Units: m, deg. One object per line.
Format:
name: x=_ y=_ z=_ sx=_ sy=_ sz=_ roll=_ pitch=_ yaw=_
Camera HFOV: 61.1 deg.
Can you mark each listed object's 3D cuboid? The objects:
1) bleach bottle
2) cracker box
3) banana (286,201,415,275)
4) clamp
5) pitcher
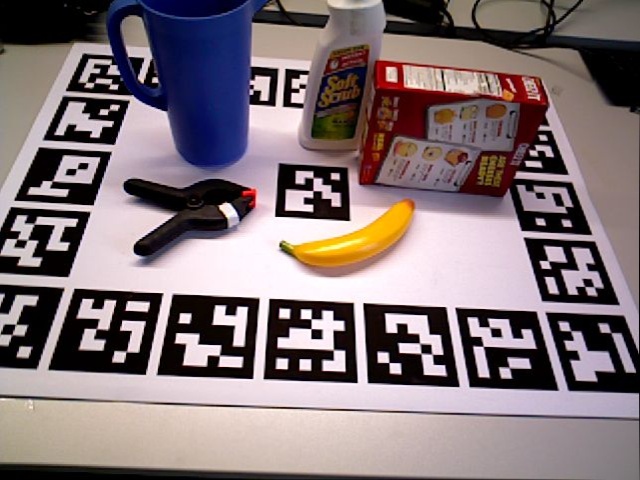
bleach bottle: x=0.023 y=-0.226 z=0.728 sx=0.102 sy=0.256 sz=0.067 roll=3 pitch=49 yaw=-4
cracker box: x=0.173 y=-0.142 z=0.711 sx=0.212 sy=0.168 sz=0.071 roll=4 pitch=48 yaw=-1
banana: x=0.056 y=0.000 z=0.696 sx=0.194 sy=0.040 sz=0.074 roll=-25 pitch=57 yaw=-24
clamp: x=-0.161 y=-0.037 z=0.693 sx=0.163 sy=0.037 sz=0.120 roll=-9 pitch=51 yaw=-15
pitcher: x=-0.161 y=-0.219 z=0.677 sx=0.186 sy=0.248 sz=0.132 roll=-10 pitch=52 yaw=-18
